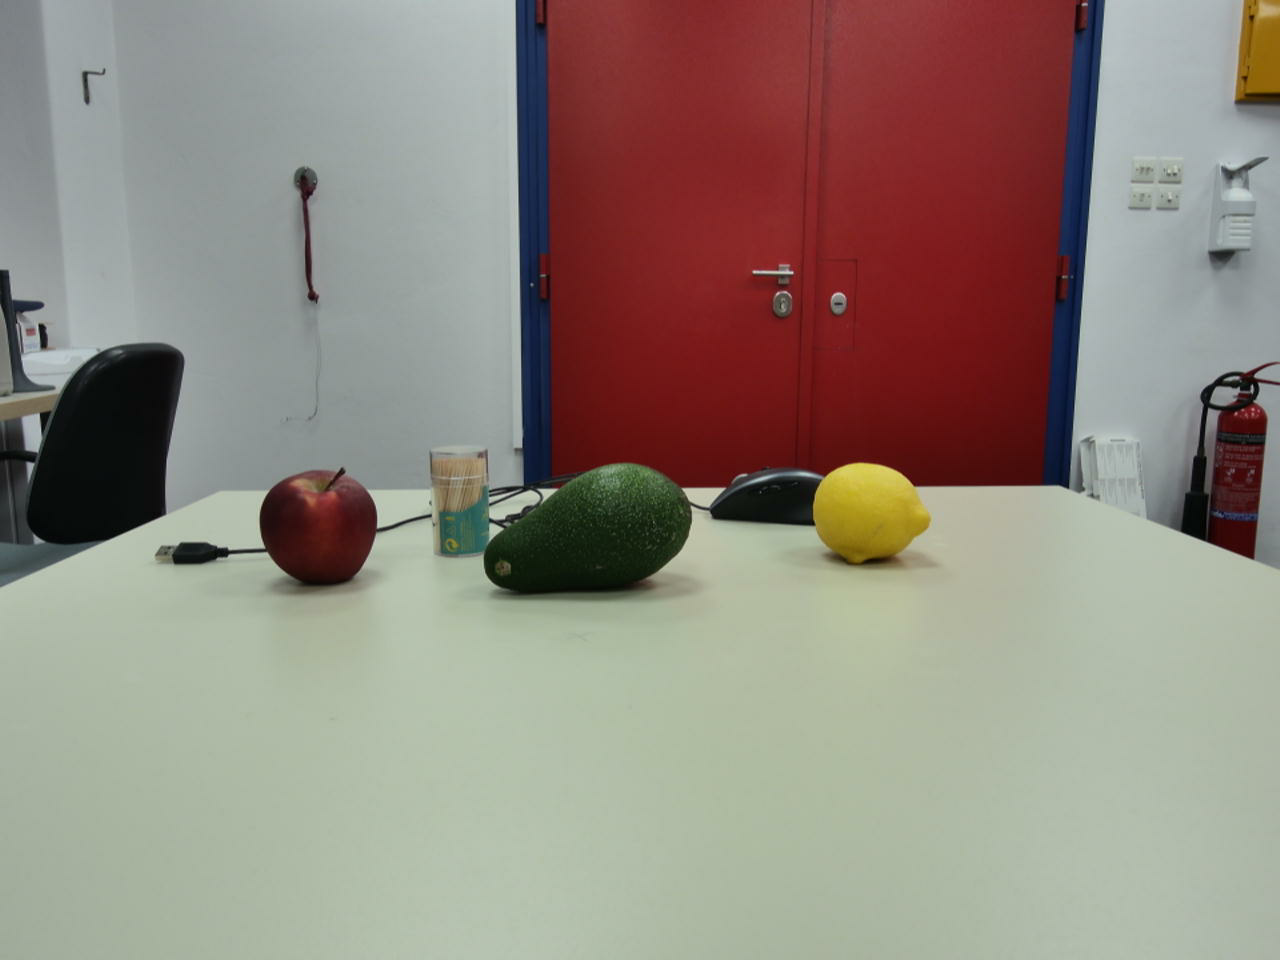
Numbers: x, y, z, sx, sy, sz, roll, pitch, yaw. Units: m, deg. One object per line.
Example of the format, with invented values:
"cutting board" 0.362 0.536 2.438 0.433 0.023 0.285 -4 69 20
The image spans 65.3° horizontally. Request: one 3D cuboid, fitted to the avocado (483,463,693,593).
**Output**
"avocado" -0.030 0.027 0.610 0.123 0.076 0.074 0 8 5
